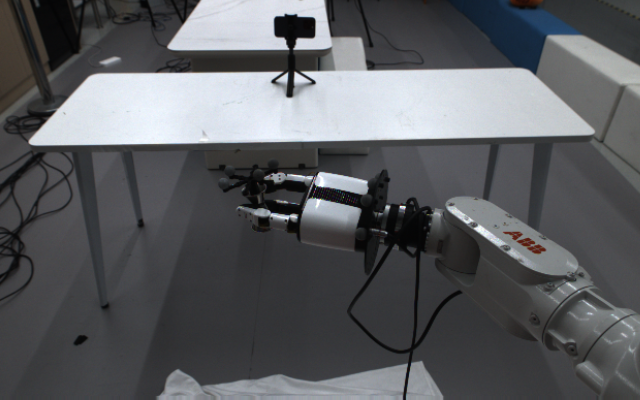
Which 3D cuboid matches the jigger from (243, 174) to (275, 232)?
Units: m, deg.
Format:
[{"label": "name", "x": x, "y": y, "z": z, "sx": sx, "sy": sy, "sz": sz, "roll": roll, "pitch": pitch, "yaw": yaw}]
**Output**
[{"label": "jigger", "x": -0.094, "y": 0.011, "z": 0.758, "sx": 0.043, "sy": 0.071, "sz": 0.043, "roll": -10, "pitch": 32, "yaw": 6}]
